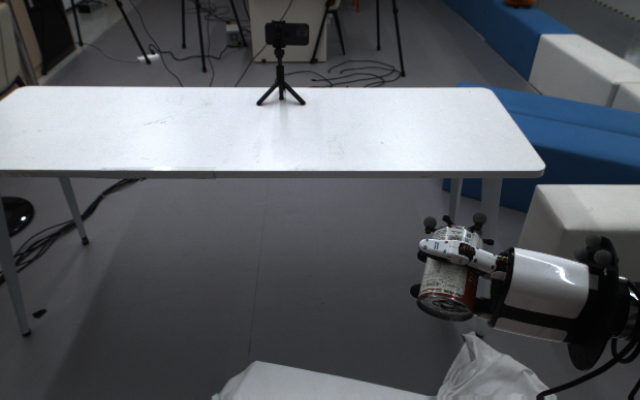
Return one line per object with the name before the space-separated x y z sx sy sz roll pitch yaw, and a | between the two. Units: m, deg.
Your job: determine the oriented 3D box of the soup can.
soup can | 0.166 0.088 0.610 0.067 0.067 0.101 12 59 14
